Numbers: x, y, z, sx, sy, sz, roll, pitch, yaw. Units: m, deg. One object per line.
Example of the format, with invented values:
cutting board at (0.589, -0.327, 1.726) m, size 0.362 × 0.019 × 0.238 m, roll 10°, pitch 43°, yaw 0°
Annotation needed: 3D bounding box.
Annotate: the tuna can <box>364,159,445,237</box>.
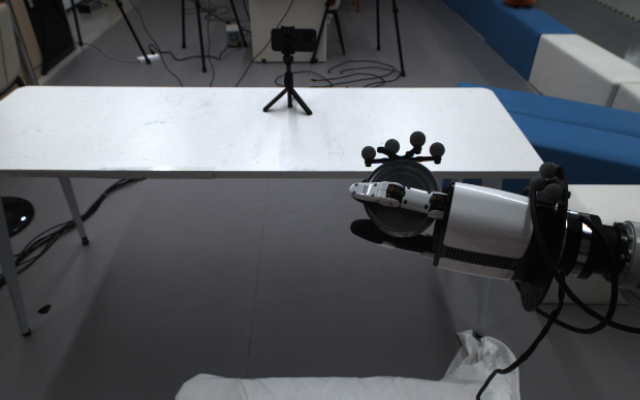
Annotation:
tuna can at (0.095, -0.003, 0.555) m, size 0.085 × 0.034 × 0.085 m, roll -5°, pitch 71°, yaw 15°
